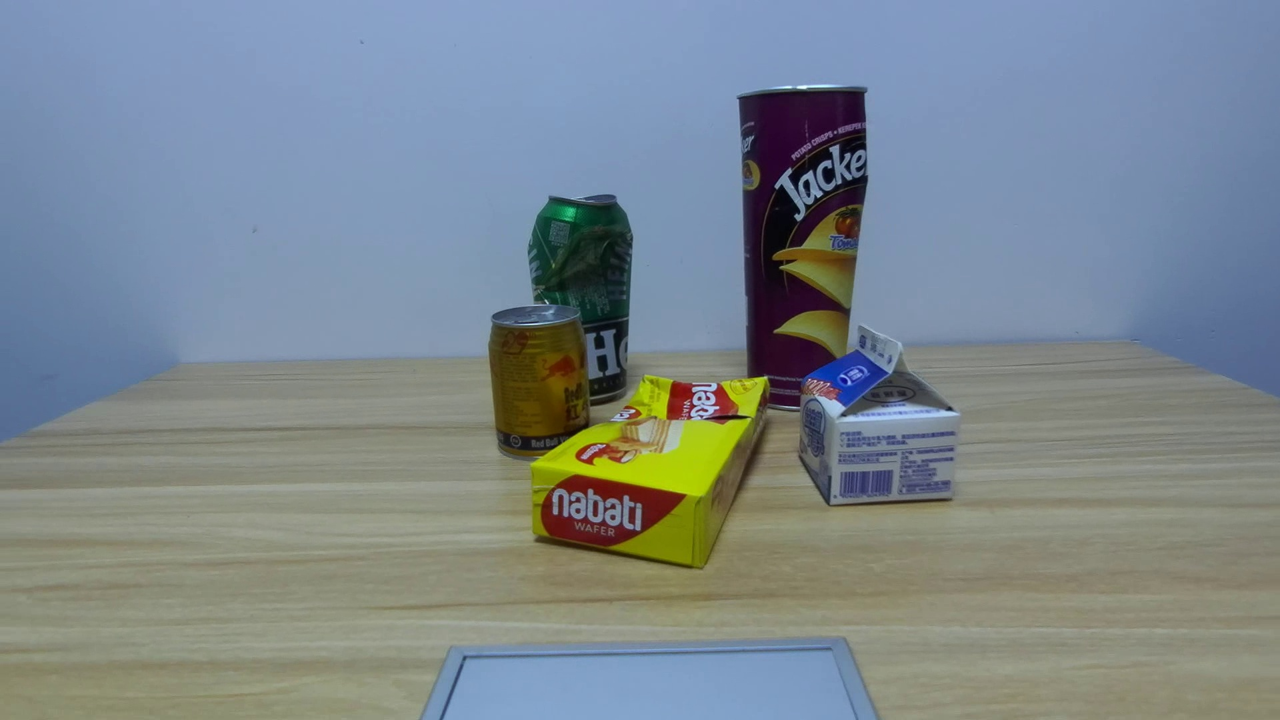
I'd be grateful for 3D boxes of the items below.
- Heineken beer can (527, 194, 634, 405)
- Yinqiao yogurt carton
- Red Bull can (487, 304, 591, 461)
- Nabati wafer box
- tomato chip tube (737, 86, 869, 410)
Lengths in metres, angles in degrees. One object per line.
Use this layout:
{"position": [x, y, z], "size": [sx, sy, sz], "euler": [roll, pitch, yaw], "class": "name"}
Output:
{"position": [-0.047, -0.048, 0.568], "size": [0.077, 0.164, 0.066], "euler": [3, 18, 6], "class": "Heineken beer can"}
{"position": [0.139, 0.028, 0.417], "size": [0.074, 0.092, 0.075], "euler": [-2, 15, -1], "class": "Yinqiao yogurt carton"}
{"position": [-0.068, 0.014, 0.484], "size": [0.067, 0.093, 0.067], "euler": [-1, 17, 1], "class": "Red Bull can"}
{"position": [0.016, 0.051, 0.439], "size": [0.106, 0.042, 0.205], "euler": [5, 16, 19], "class": "Nabati wafer box"}
{"position": [0.123, -0.083, 0.545], "size": [0.076, 0.235, 0.077], "euler": [-7, 17, -15], "class": "tomato chip tube"}
